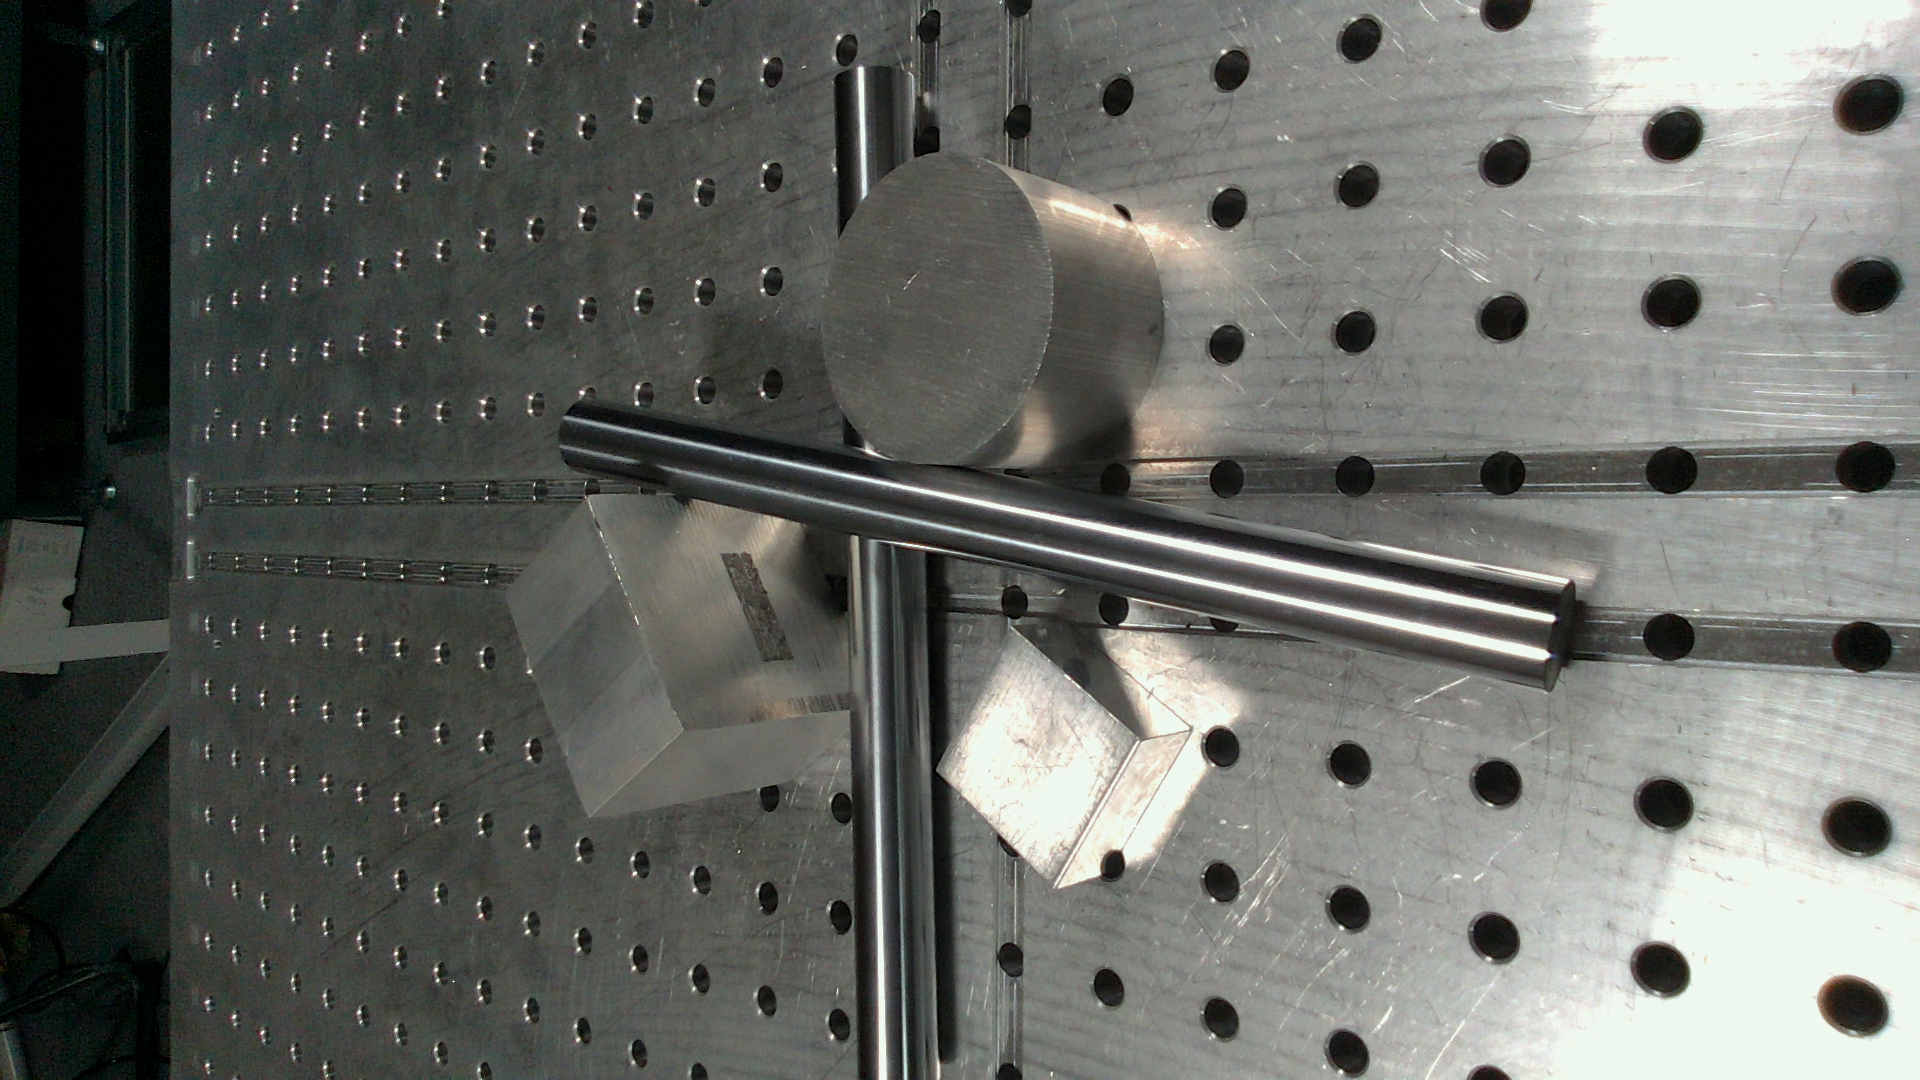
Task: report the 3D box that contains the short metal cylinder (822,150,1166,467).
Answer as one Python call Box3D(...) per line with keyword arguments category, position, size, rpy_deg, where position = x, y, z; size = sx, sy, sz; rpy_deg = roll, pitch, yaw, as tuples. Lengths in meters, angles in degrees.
Box3D(category="short metal cylinder", position=(0.008, -0.060, 0.374), size=(0.080, 0.050, 0.080), rpy_deg=(0, 90, 40))

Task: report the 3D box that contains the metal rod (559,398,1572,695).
Box3D(category="metal rod", position=(0.003, -0.007, 0.371), size=(0.299, 0.025, 0.025), rpy_deg=(12, 98, 32))

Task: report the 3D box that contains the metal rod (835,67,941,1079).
Box3D(category="metal rod", position=(-0.022, 0.010, 0.416), size=(0.025, 0.025, 0.300), rpy_deg=(-2, 89, 40))

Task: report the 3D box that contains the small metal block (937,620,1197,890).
Box3D(category="small metal block", position=(0.028, 0.057, 0.375), size=(0.050, 0.025, 0.050), rpy_deg=(40, 115, 33))

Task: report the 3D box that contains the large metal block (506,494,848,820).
Box3D(category="large metal block", position=(-0.082, 0.034, 0.429), size=(0.050, 0.080, 0.080), rpy_deg=(-42, 64, 32))
